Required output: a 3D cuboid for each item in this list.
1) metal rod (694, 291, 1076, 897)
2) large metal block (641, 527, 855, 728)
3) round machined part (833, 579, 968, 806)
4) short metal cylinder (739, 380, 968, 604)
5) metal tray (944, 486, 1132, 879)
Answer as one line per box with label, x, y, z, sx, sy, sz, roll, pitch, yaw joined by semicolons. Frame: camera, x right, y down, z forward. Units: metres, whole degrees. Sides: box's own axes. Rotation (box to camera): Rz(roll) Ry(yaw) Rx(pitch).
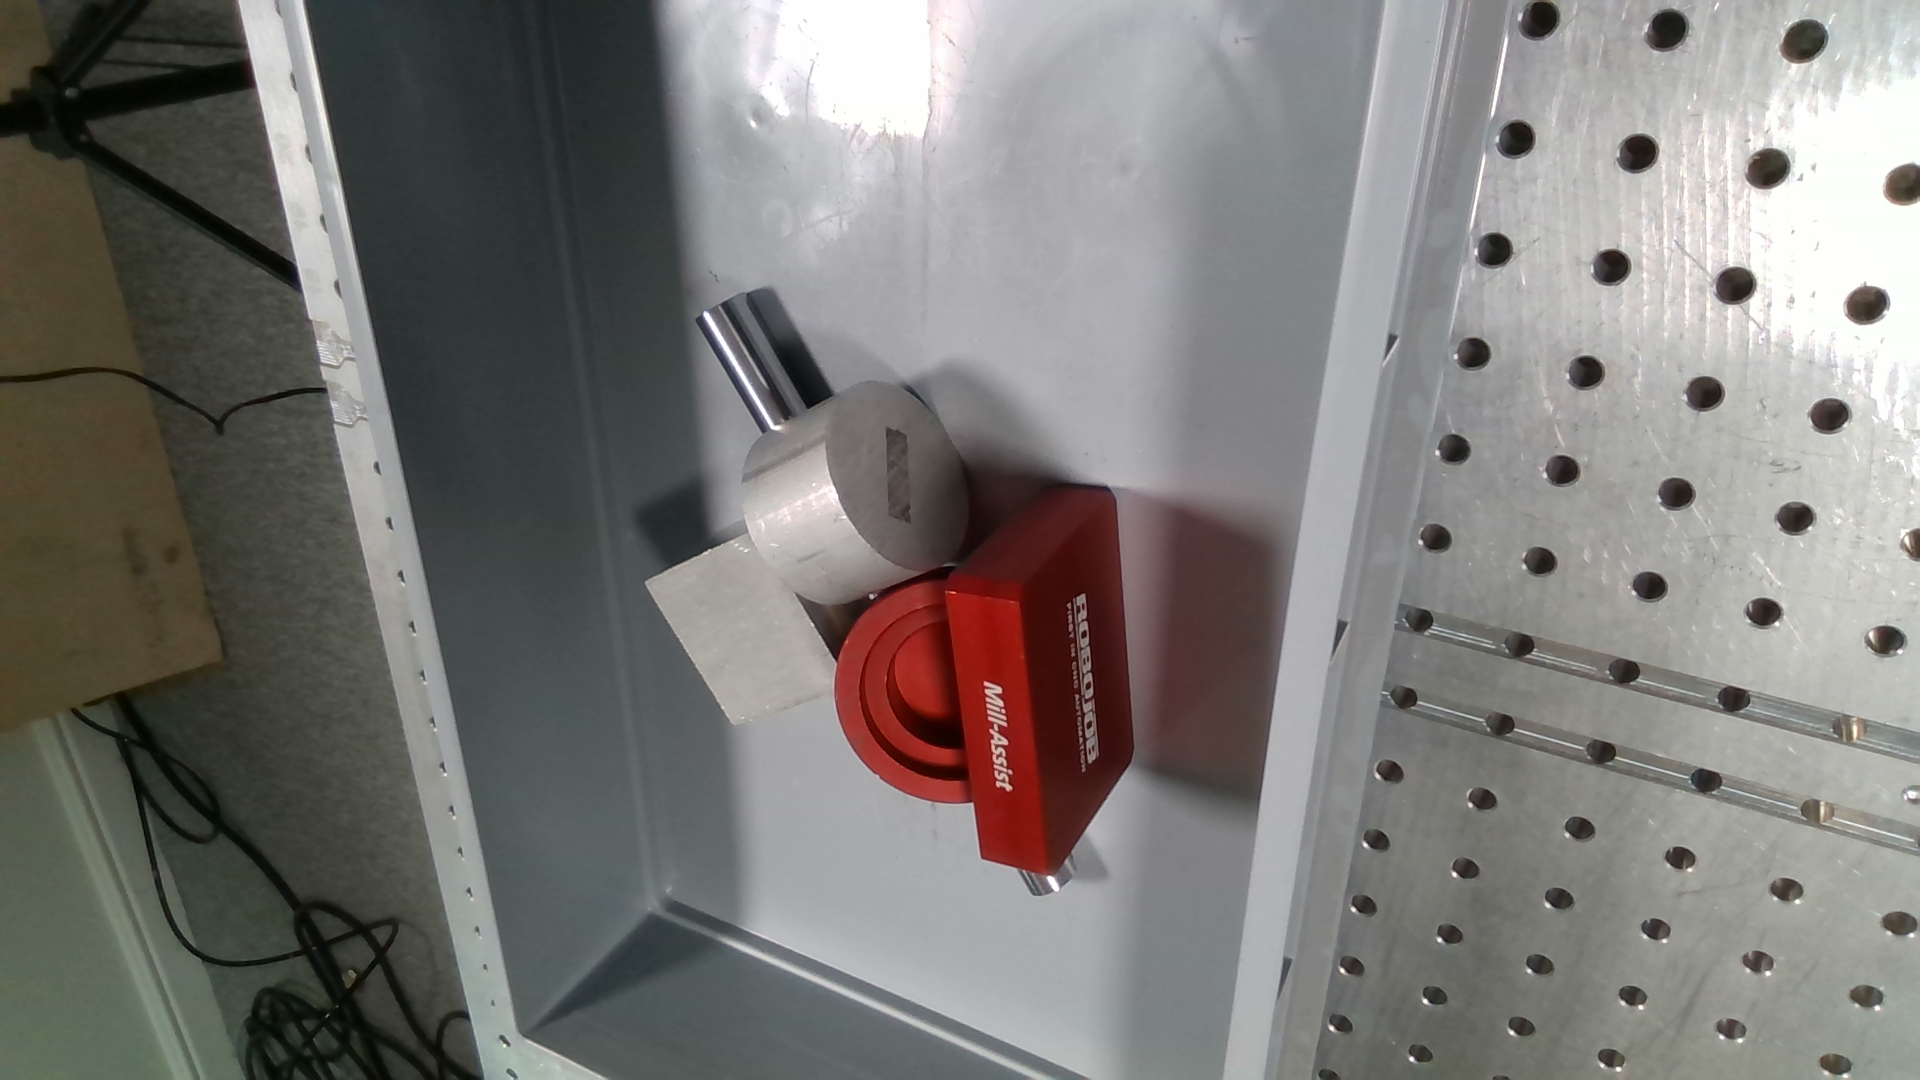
metal rod;-0.030;0.029;0.613;0.025;0.025;0.300;-22;103;38
large metal block;-0.085;0.031;0.630;0.080;0.050;0.080;-22;103;38
round machined part;-0.002;0.059;0.583;0.098;0.042;0.098;1;104;3
short metal cylinder;-0.042;-0.018;0.559;0.050;0.080;0.080;-22;102;38
metal tray;0.035;0.055;0.544;0.030;0.090;0.130;8;119;28
